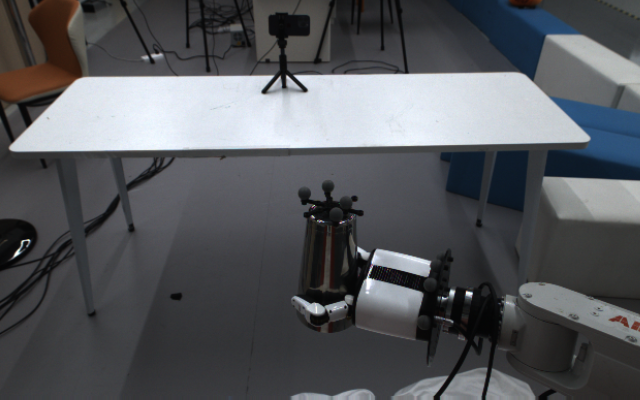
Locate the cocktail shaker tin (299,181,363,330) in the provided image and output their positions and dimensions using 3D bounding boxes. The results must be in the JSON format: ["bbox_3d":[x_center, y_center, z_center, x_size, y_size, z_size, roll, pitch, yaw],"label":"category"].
[{"bbox_3d":[0.015,0.090,0.682,0.093,0.170,0.093,1,28,-1],"label":"cocktail shaker tin"}]
